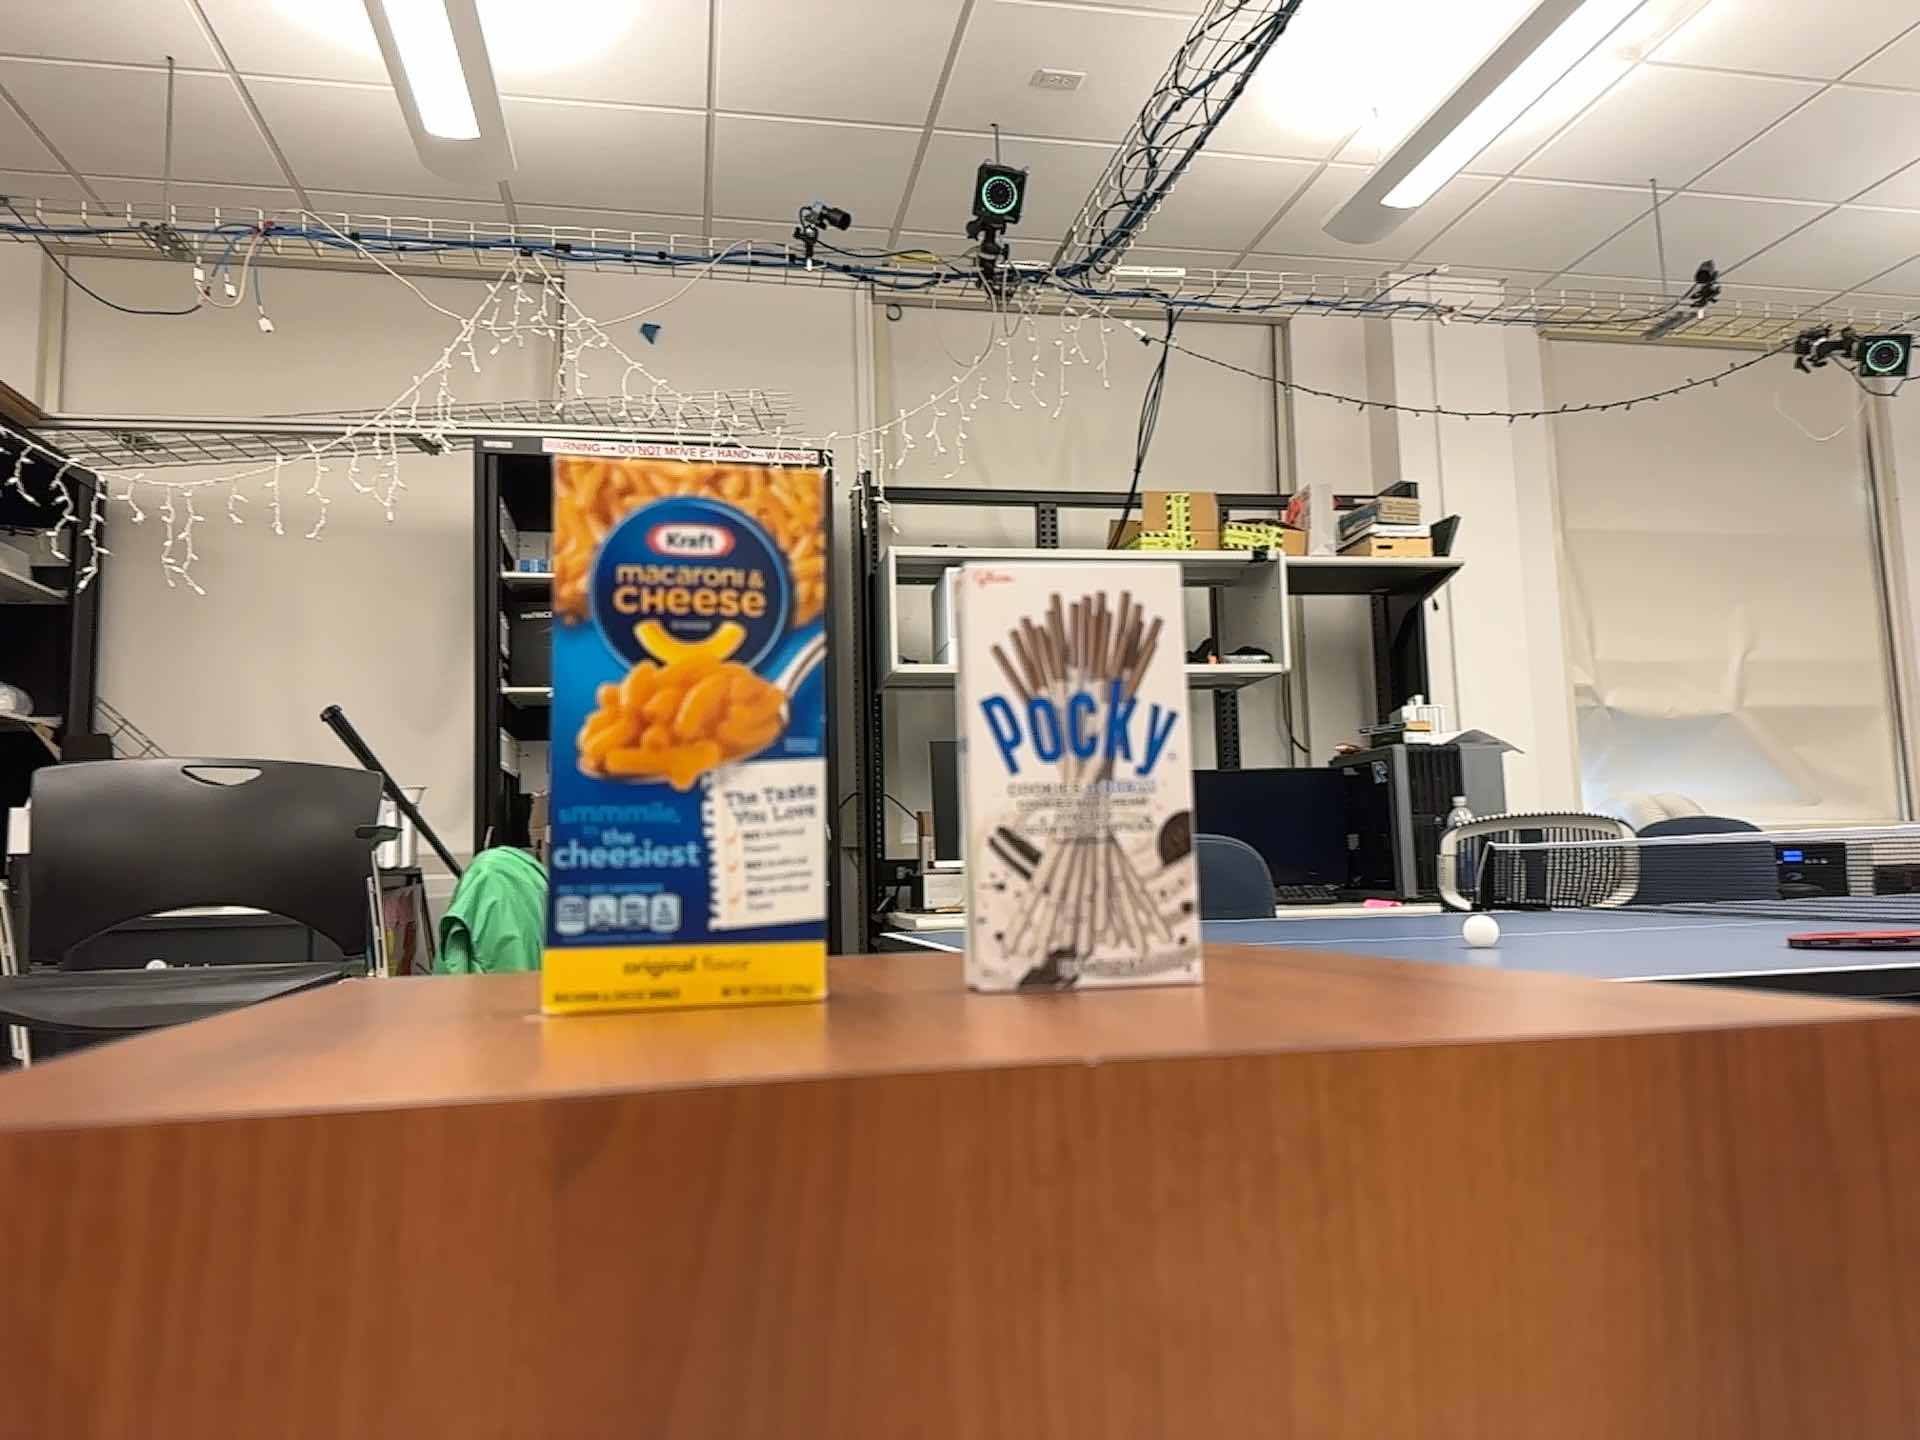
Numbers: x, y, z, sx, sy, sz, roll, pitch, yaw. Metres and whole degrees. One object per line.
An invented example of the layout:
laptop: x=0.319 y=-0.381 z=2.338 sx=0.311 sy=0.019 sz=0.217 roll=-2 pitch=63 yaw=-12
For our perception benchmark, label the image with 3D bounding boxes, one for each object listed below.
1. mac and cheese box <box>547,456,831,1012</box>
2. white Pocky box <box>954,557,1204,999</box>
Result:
mac and cheese box: x=-0.091 y=0.004 z=0.461 sx=0.088 sy=0.181 sz=0.035 roll=-1 pitch=-8 yaw=-8
white Pocky box: x=0.041 y=0.020 z=0.477 sx=0.084 sy=0.154 sz=0.028 roll=0 pitch=-7 yaw=-5
